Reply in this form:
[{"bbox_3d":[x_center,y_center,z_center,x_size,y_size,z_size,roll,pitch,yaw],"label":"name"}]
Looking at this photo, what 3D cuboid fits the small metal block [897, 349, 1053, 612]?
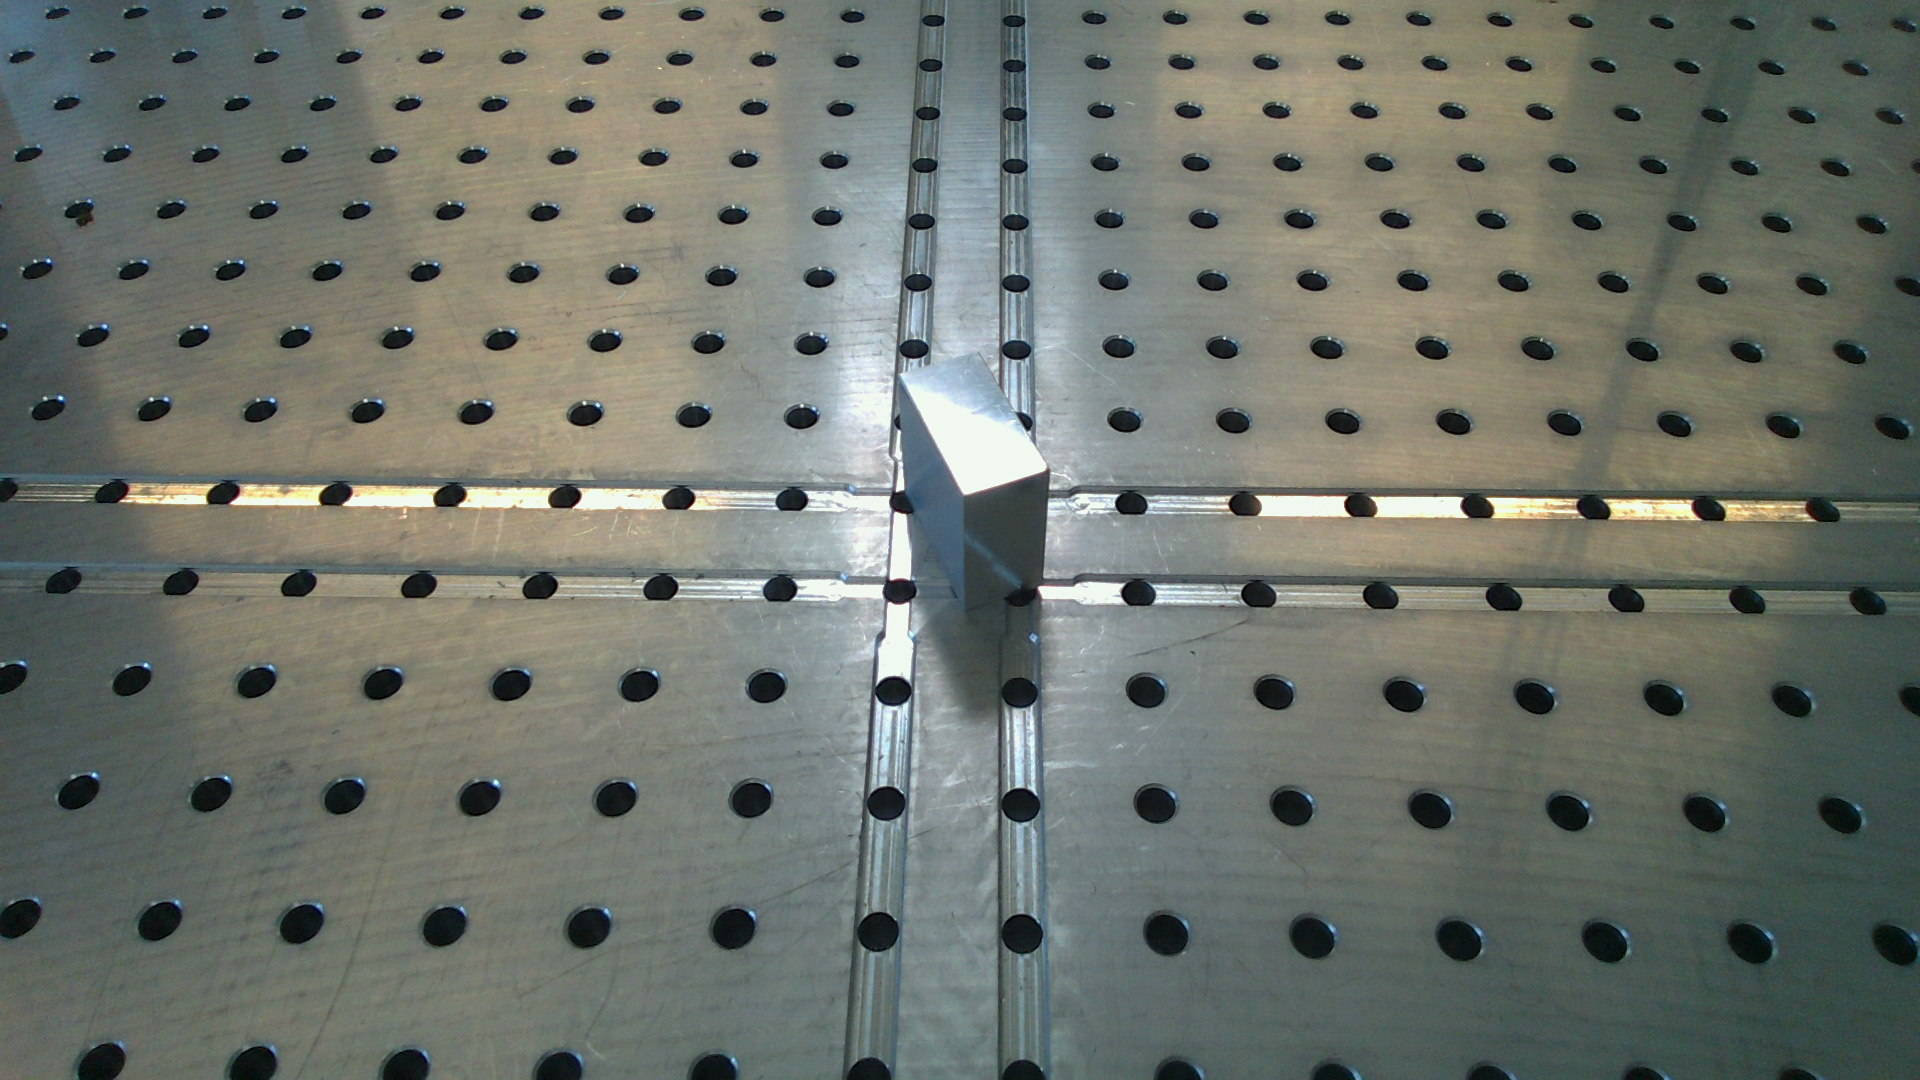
[{"bbox_3d":[0.003,-0.017,0.392,0.025,0.050,0.050,-17,52,-14],"label":"small metal block"}]
